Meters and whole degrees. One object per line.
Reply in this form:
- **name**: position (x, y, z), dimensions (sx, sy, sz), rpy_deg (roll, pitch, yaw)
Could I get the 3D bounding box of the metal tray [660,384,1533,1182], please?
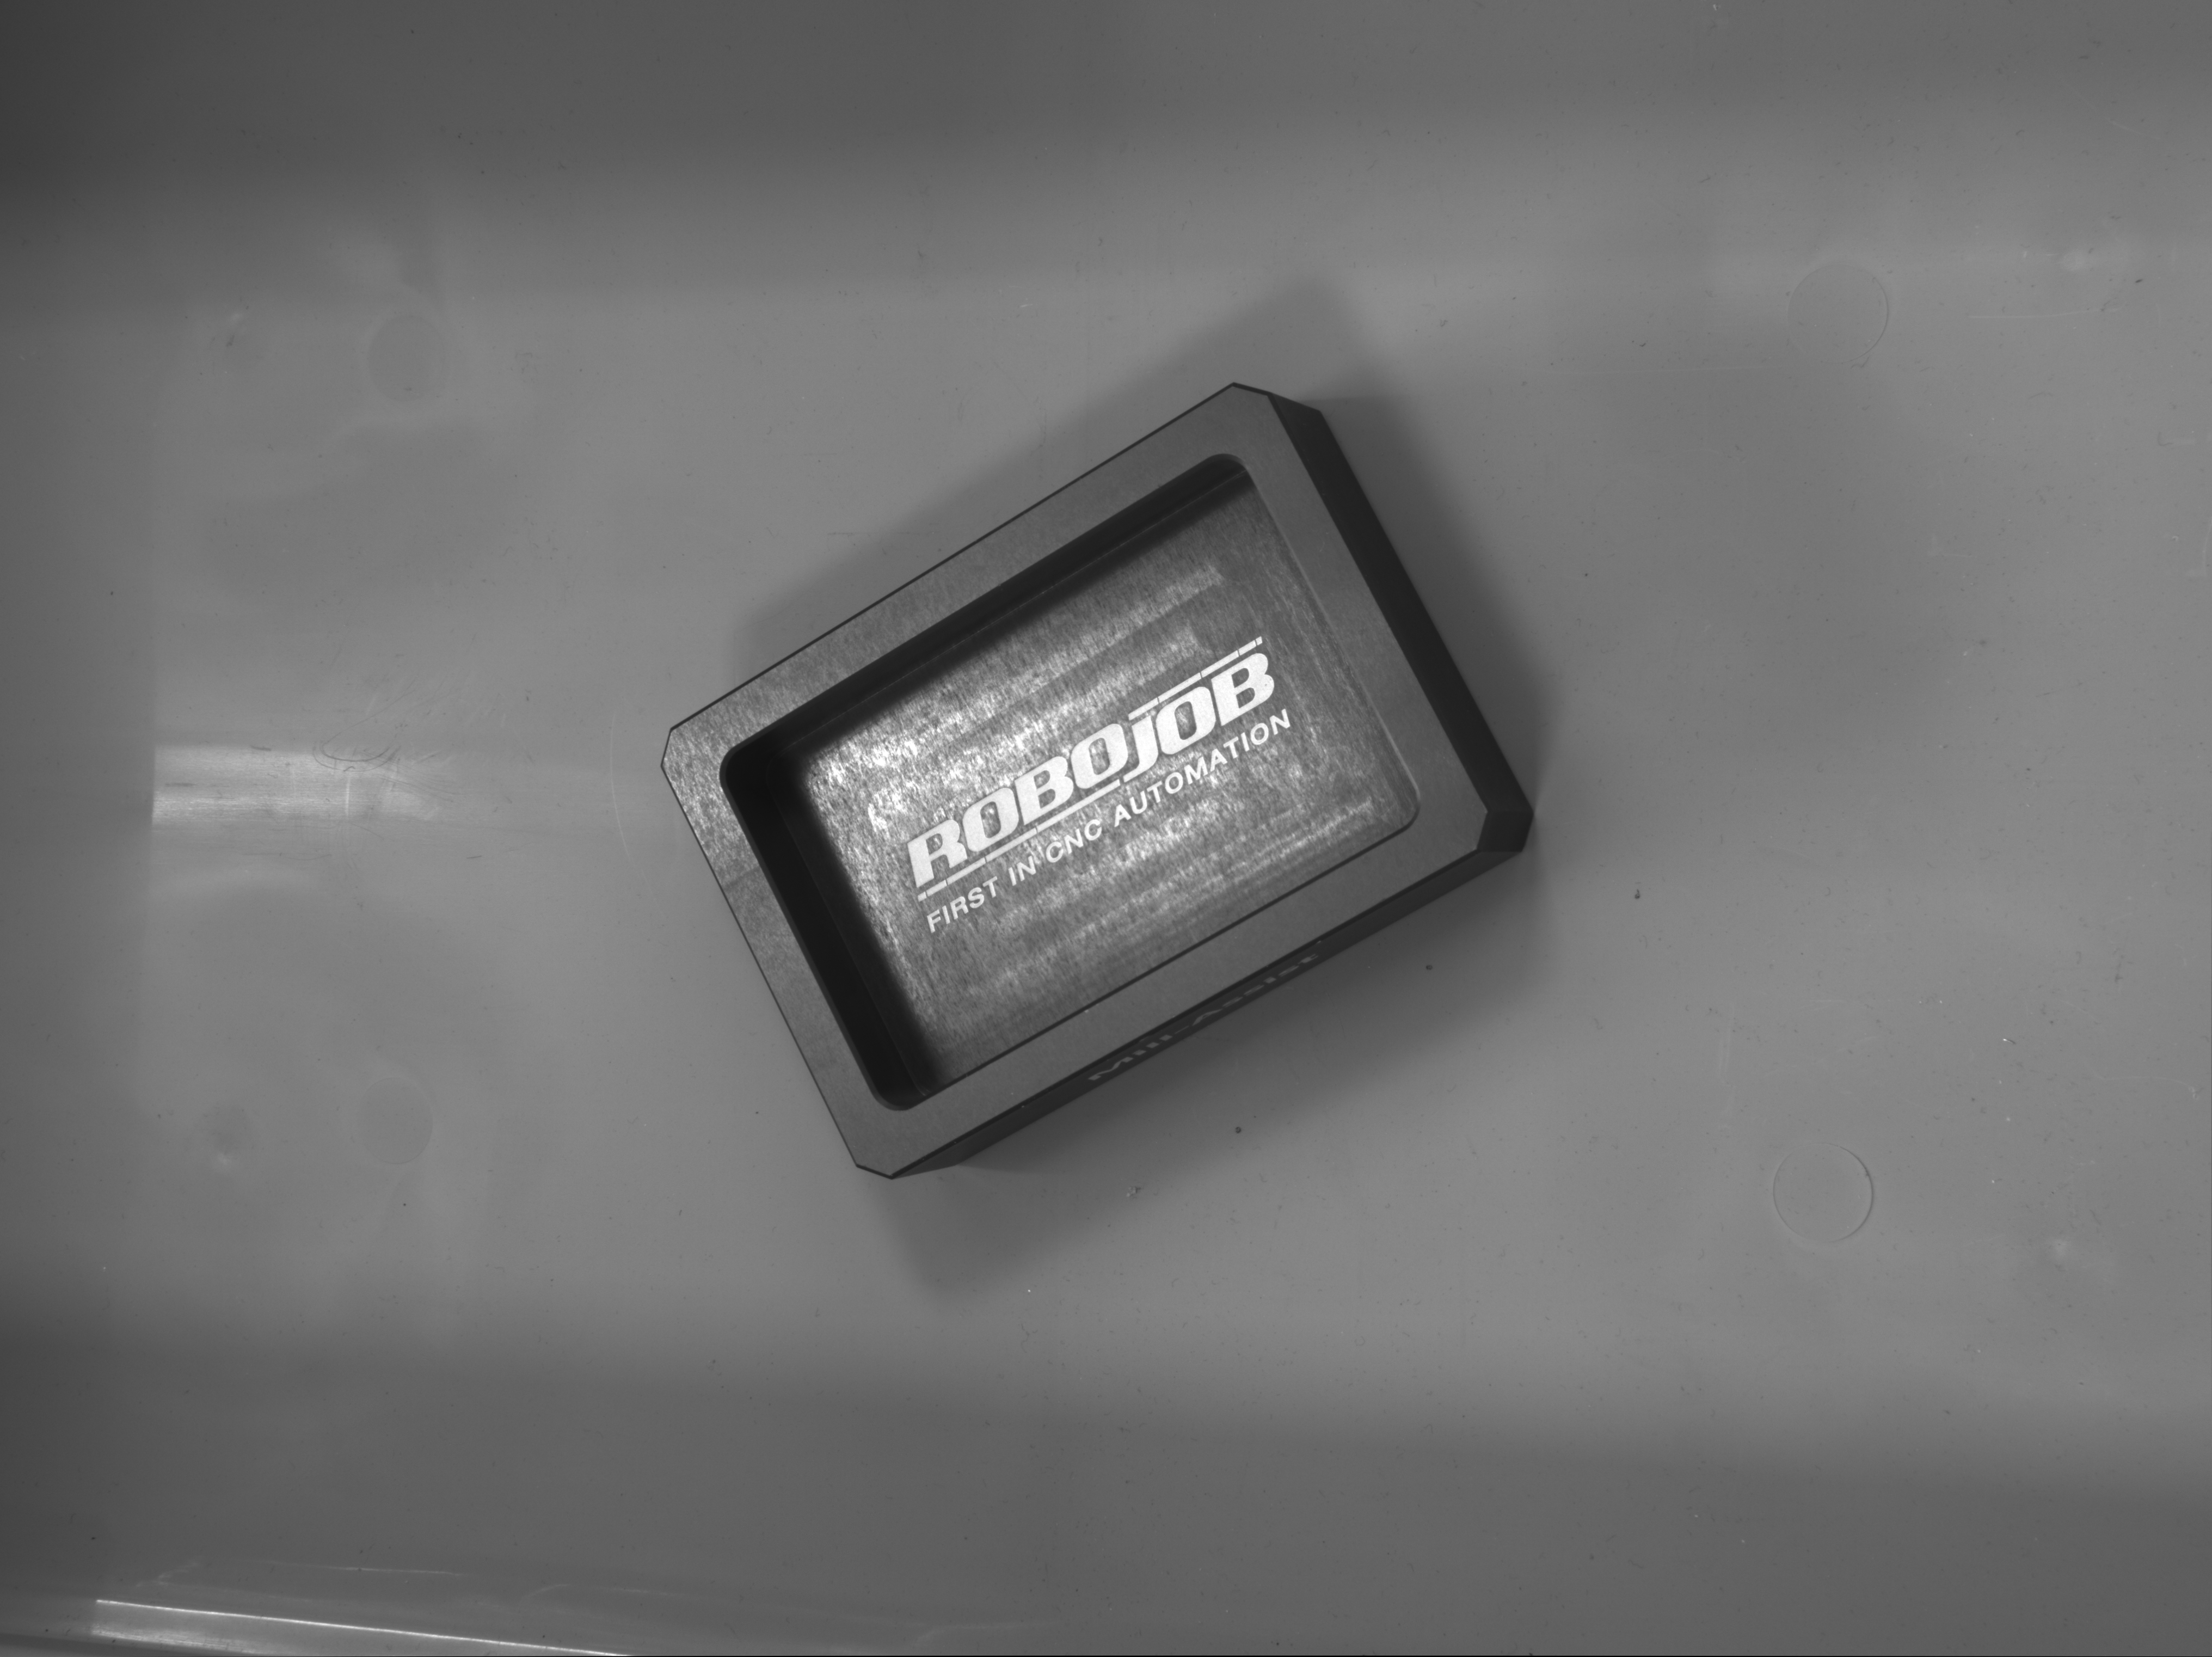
- **metal tray**: position (-0.003, -0.007, 0.642), dimensions (0.130, 0.030, 0.090), rpy_deg (-30, 80, 17)
